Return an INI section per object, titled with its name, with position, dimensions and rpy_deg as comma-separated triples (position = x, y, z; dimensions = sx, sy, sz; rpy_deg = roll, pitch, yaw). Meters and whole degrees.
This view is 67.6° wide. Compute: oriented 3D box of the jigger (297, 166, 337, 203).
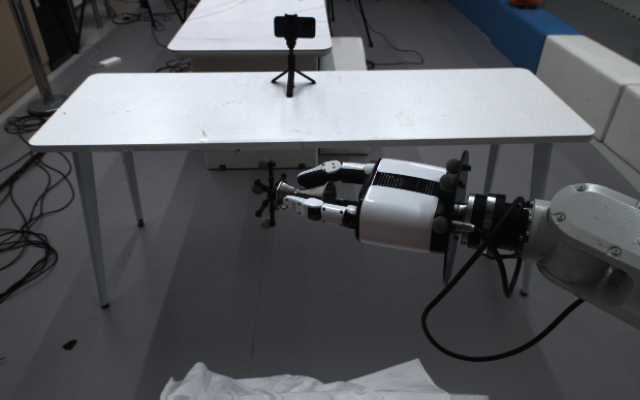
[jigger]
position = -0.012, -0.007, 0.629
dimensions = 0.071, 0.043, 0.043
rpy_deg = 4, 33, 23
